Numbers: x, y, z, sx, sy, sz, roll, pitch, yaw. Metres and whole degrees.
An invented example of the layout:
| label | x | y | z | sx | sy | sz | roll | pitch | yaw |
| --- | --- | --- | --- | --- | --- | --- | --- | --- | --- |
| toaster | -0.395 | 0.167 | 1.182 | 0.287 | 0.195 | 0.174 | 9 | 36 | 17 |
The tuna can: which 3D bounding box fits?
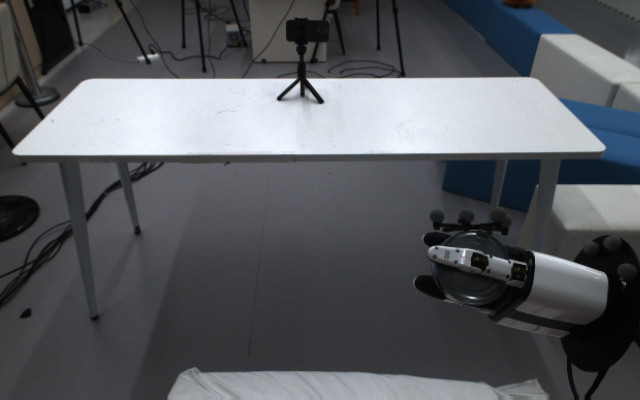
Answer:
| label | x | y | z | sx | sy | sz | roll | pitch | yaw |
| --- | --- | --- | --- | --- | --- | --- | --- | --- | --- |
| tuna can | 0.178 | 0.076 | 0.566 | 0.085 | 0.034 | 0.085 | 0 | 77 | 1 |
